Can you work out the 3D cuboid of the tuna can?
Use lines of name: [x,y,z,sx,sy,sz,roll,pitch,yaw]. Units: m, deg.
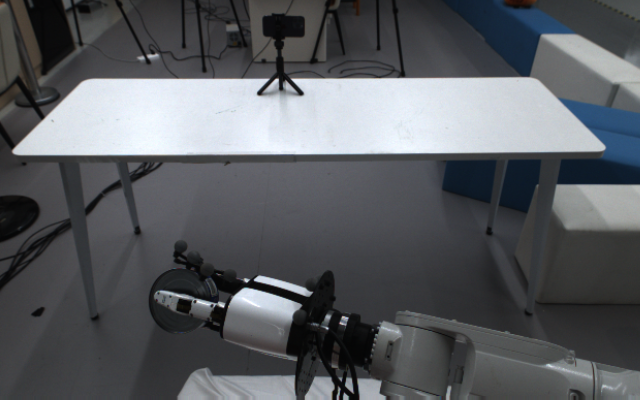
tuna can: [-0.178,0.133,0.643,0.085,0.085,0.034,10,-4,11]
